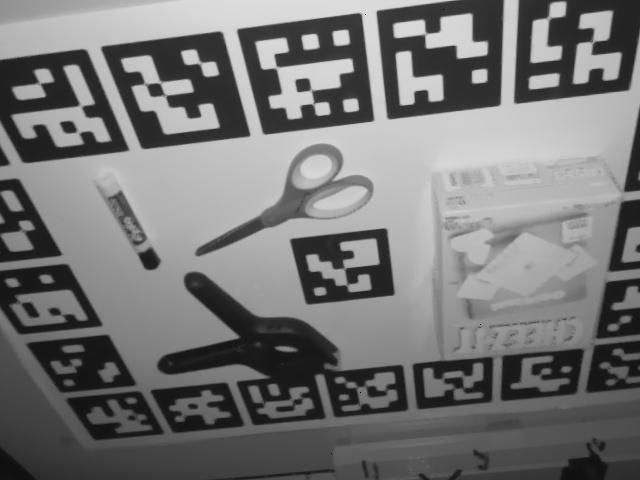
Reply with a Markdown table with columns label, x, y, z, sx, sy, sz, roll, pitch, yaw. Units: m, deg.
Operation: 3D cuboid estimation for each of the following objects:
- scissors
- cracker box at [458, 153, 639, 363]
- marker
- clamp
| label | x | y | z | sx | sy | sz | roll | pitch | yaw |
| --- | --- | --- | --- | --- | --- | --- | --- | --- | --- |
| scissors | -0.018 | -0.023 | 0.676 | 0.200 | 0.016 | 0.088 | -30 | 126 | 24 |
| cracker box | 0.225 | 0.026 | 0.691 | 0.164 | 0.072 | 0.212 | -6 | 130 | 4 |
| marker | -0.160 | -0.009 | 0.683 | 0.019 | 0.020 | 0.120 | -10 | 130 | 8 |
| clamp | -0.037 | 0.121 | 0.802 | 0.204 | 0.037 | 0.163 | 17 | 129 | -14 |
